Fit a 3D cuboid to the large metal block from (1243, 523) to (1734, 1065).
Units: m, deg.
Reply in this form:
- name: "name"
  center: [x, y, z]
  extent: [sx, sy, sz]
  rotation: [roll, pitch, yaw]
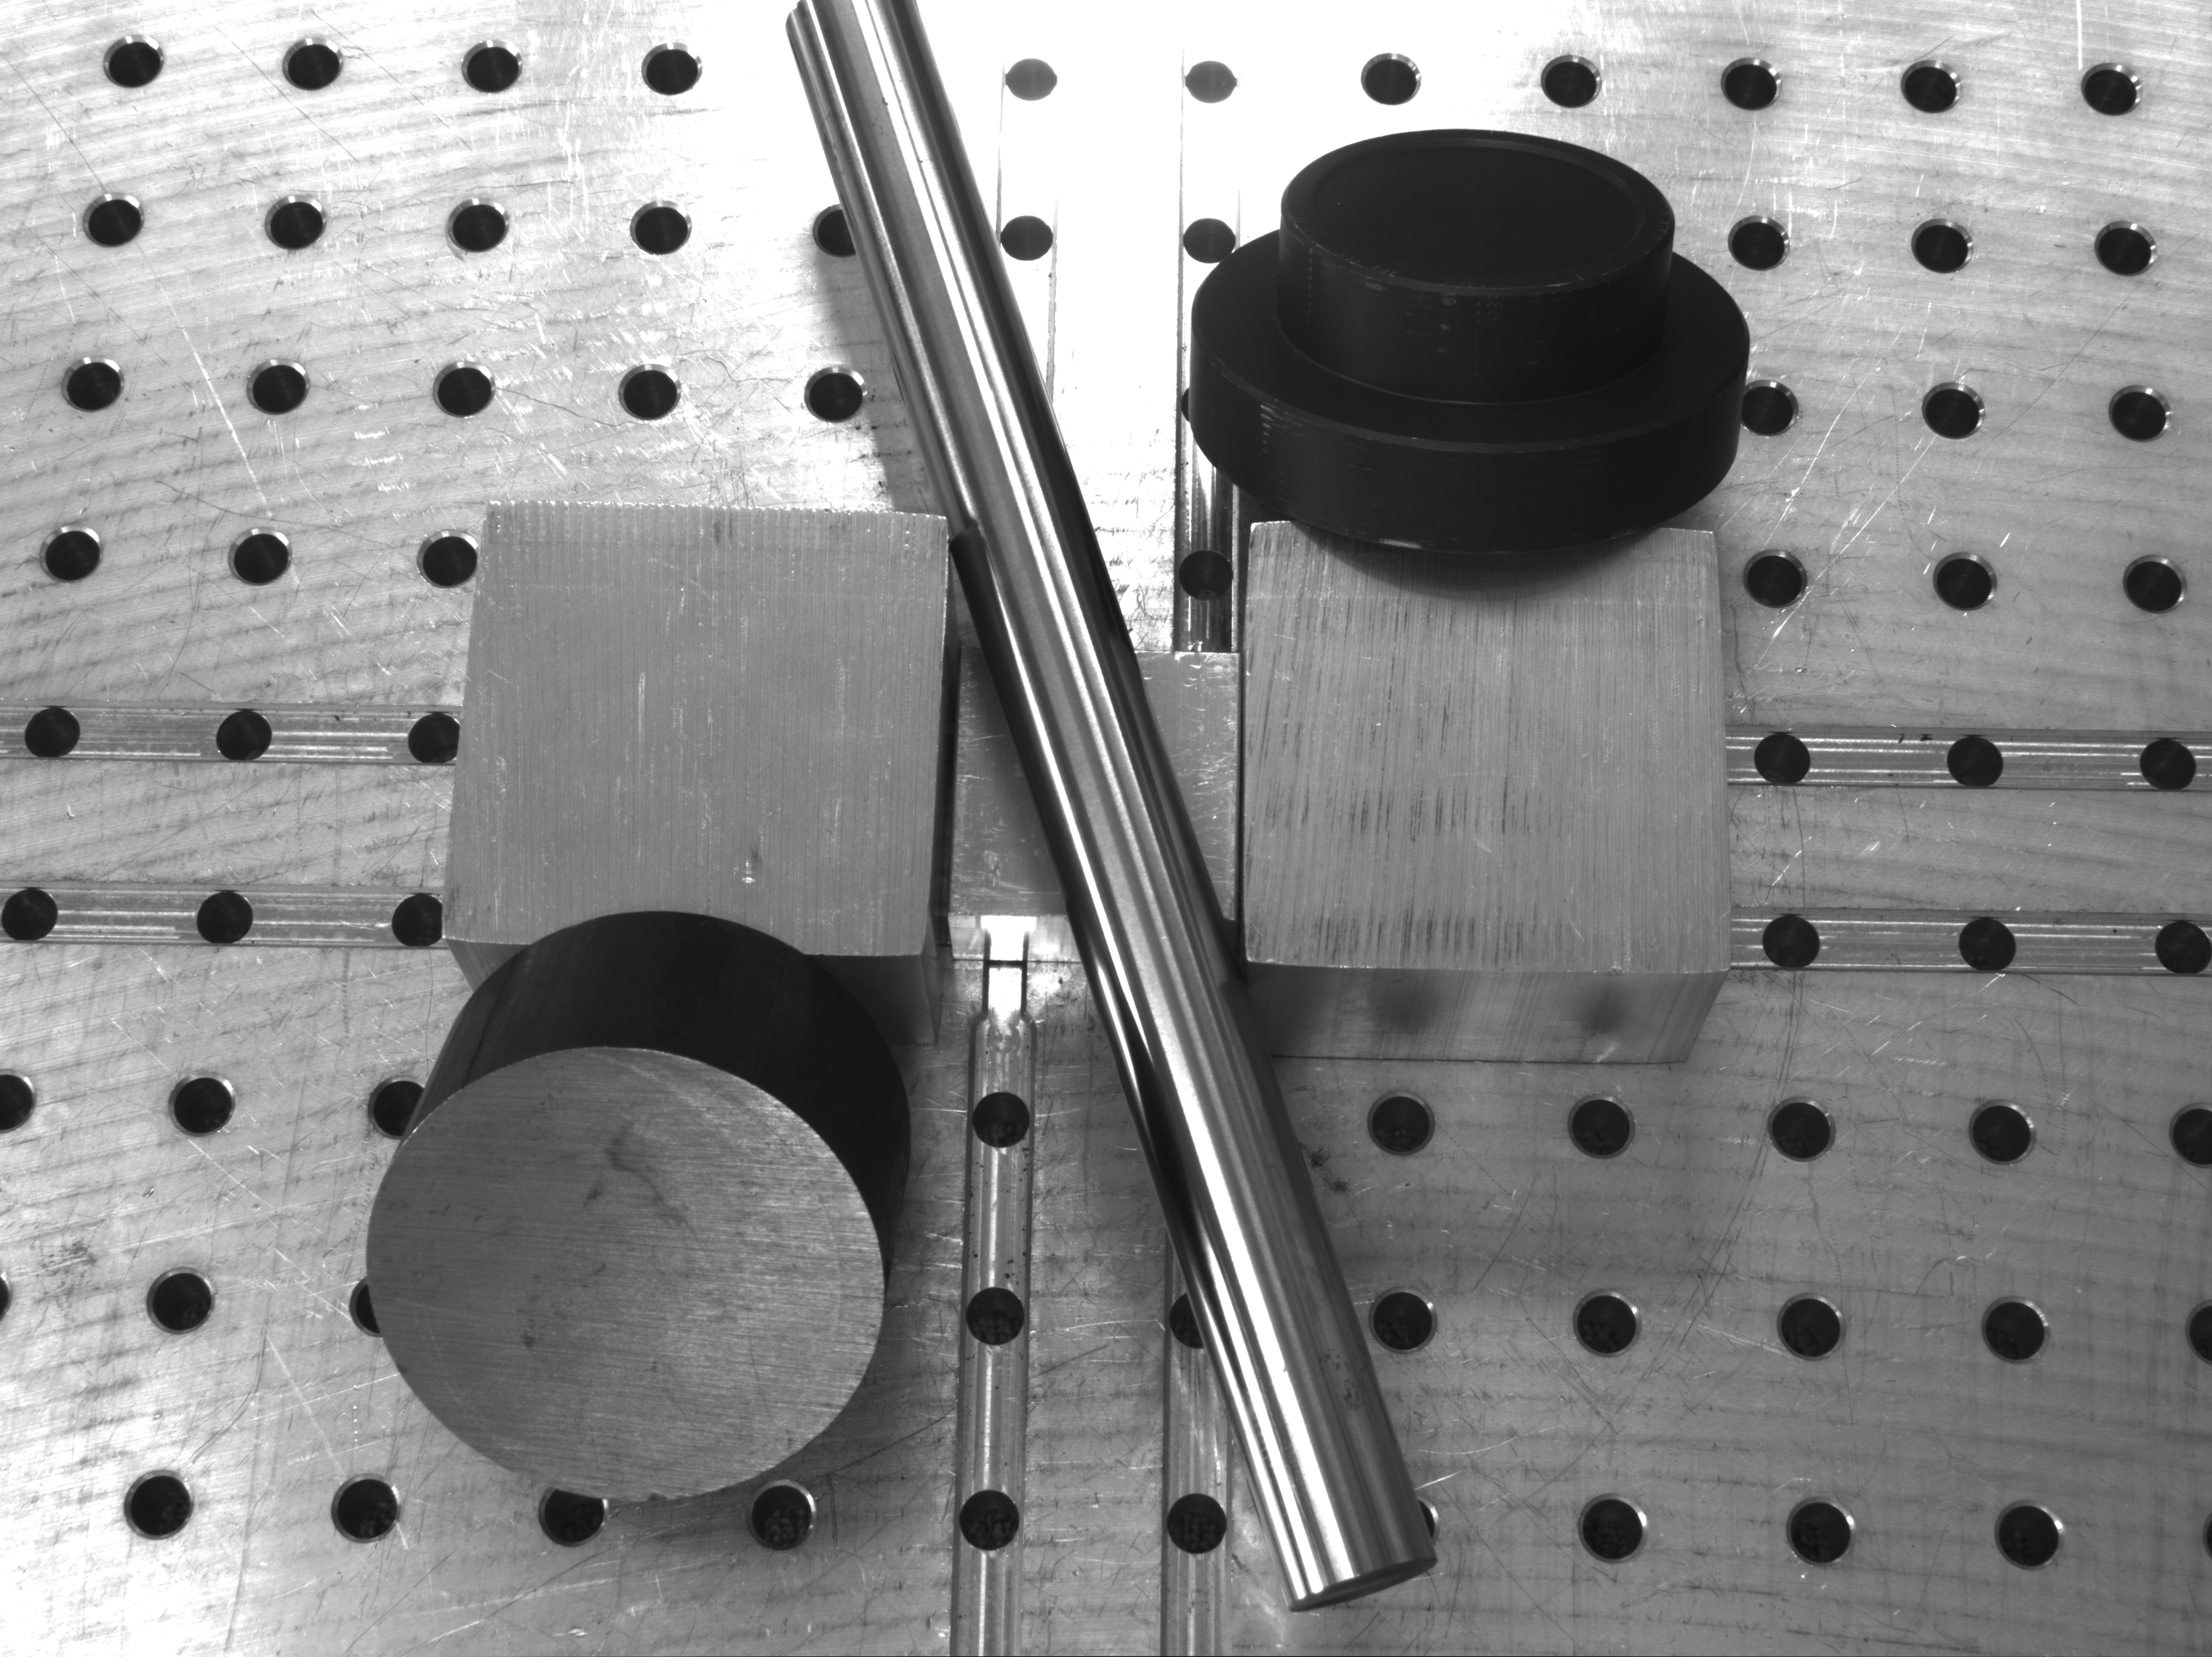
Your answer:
- name: "large metal block"
  center: [0.064, -0.005, 0.637]
  extent: [0.080, 0.050, 0.080]
  rotation: [1, 70, 0]

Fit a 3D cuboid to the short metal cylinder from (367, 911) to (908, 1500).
- name: "short metal cylinder"
  center: [-0.073, 0.060, 0.590]
  extent: [0.080, 0.050, 0.080]
  rotation: [1, 113, 1]

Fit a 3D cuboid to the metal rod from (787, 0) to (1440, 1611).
- name: "metal rod"
  center: [-0.003, -0.016, 0.626]
  extent: [0.025, 0.025, 0.300]
  rotation: [-16, 71, -6]

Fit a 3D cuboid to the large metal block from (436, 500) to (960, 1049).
- name: "large metal block"
  center: [-0.068, -0.009, 0.639]
  extent: [0.080, 0.050, 0.080]
  rotation: [2, 70, 1]

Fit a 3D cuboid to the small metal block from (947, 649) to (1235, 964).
- name: "small metal block"
  center: [-0.002, -0.004, 0.650]
  extent: [0.050, 0.025, 0.050]
  rotation: [1, 70, 0]

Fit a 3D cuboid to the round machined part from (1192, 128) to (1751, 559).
- name: "round machined part"
  center: [0.064, -0.090, 0.646]
  extent: [0.098, 0.042, 0.098]
  rotation: [0, 35, 0]
